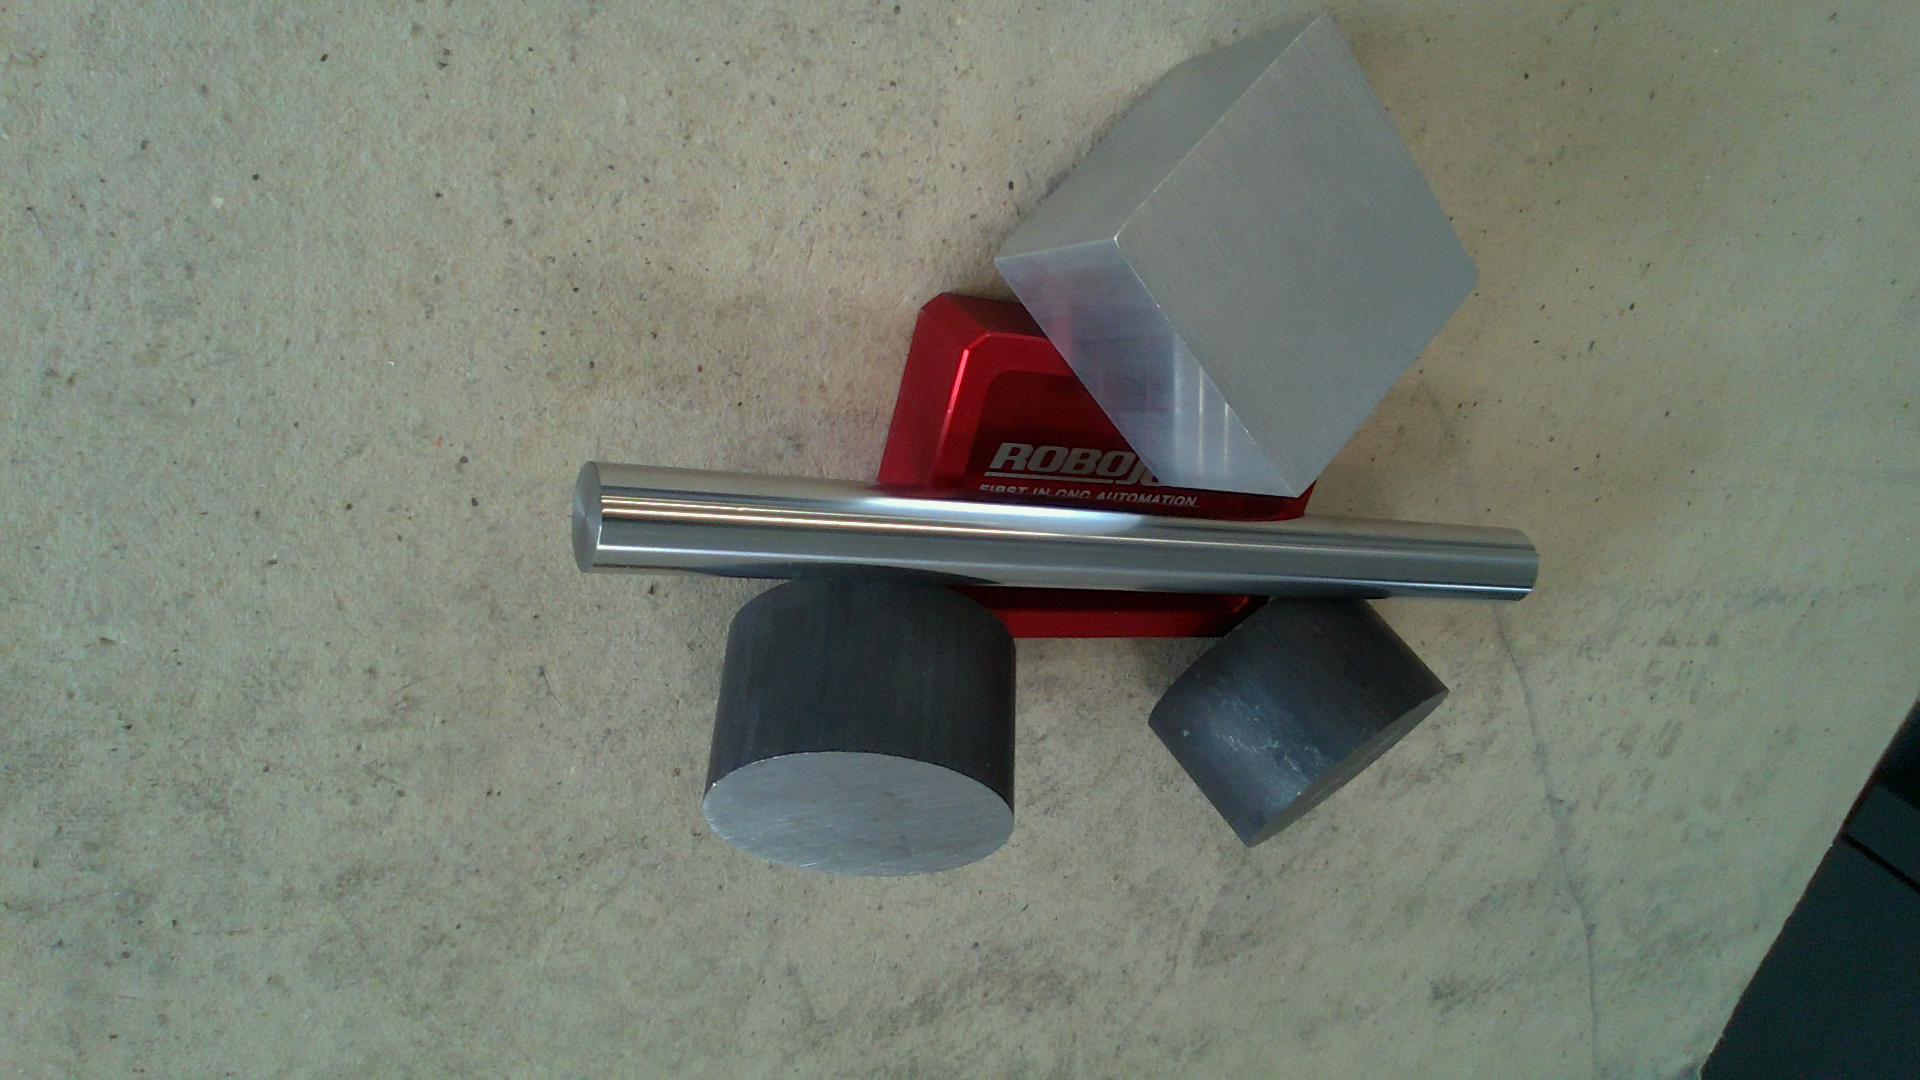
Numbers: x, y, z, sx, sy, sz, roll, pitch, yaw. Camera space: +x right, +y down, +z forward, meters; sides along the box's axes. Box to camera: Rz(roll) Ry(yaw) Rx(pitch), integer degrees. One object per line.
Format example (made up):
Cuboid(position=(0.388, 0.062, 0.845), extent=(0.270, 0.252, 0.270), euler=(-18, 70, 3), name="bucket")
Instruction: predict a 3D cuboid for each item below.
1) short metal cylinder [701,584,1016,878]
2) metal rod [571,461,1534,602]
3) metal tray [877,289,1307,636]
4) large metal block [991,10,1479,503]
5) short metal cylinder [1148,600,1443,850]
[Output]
Cuboid(position=(-0.025, 0.052, 0.368), extent=(0.080, 0.050, 0.080), euler=(1, 146, 1), name="short metal cylinder")
Cuboid(position=(0.047, 0.002, 0.377), extent=(0.301, 0.025, 0.025), euler=(3, 117, -30), name="metal rod")
Cuboid(position=(0.042, -0.018, 0.398), extent=(0.130, 0.030, 0.090), euler=(2, 118, -29), name="metal tray")
Cuboid(position=(0.069, -0.067, 0.342), extent=(0.080, 0.050, 0.080), euler=(-48, 115, -16), name="large metal block")
Cuboid(position=(0.108, 0.055, 0.444), extent=(0.080, 0.050, 0.080), euler=(-32, 158, -15), name="short metal cylinder")
